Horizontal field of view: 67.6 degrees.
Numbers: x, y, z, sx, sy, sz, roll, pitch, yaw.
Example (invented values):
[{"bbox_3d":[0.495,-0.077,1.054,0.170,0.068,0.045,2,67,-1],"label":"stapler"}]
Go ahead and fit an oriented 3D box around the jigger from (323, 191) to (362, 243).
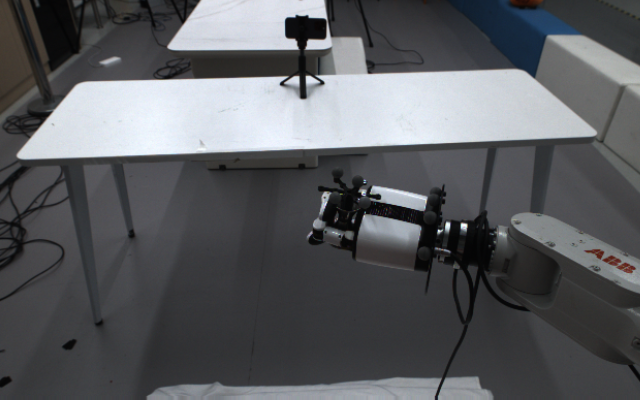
[{"bbox_3d":[0.037,0.033,0.708,0.043,0.071,0.043,7,32,-4],"label":"jigger"}]
